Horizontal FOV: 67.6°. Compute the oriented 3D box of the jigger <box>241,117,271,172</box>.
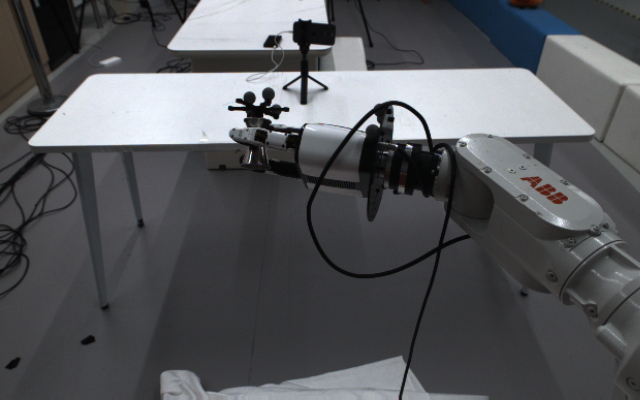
[{"bbox_3d":[-0.091,-0.081,0.693,0.043,0.071,0.043,2,-6,0],"label":"jigger"}]
